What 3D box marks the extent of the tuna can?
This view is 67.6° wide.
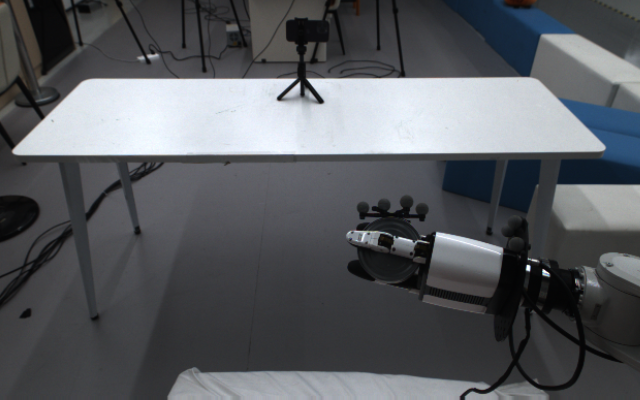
[{"bbox_3d":[0.096,0.067,0.645,0.085,0.034,0.085,-3,73,11],"label":"tuna can"}]
